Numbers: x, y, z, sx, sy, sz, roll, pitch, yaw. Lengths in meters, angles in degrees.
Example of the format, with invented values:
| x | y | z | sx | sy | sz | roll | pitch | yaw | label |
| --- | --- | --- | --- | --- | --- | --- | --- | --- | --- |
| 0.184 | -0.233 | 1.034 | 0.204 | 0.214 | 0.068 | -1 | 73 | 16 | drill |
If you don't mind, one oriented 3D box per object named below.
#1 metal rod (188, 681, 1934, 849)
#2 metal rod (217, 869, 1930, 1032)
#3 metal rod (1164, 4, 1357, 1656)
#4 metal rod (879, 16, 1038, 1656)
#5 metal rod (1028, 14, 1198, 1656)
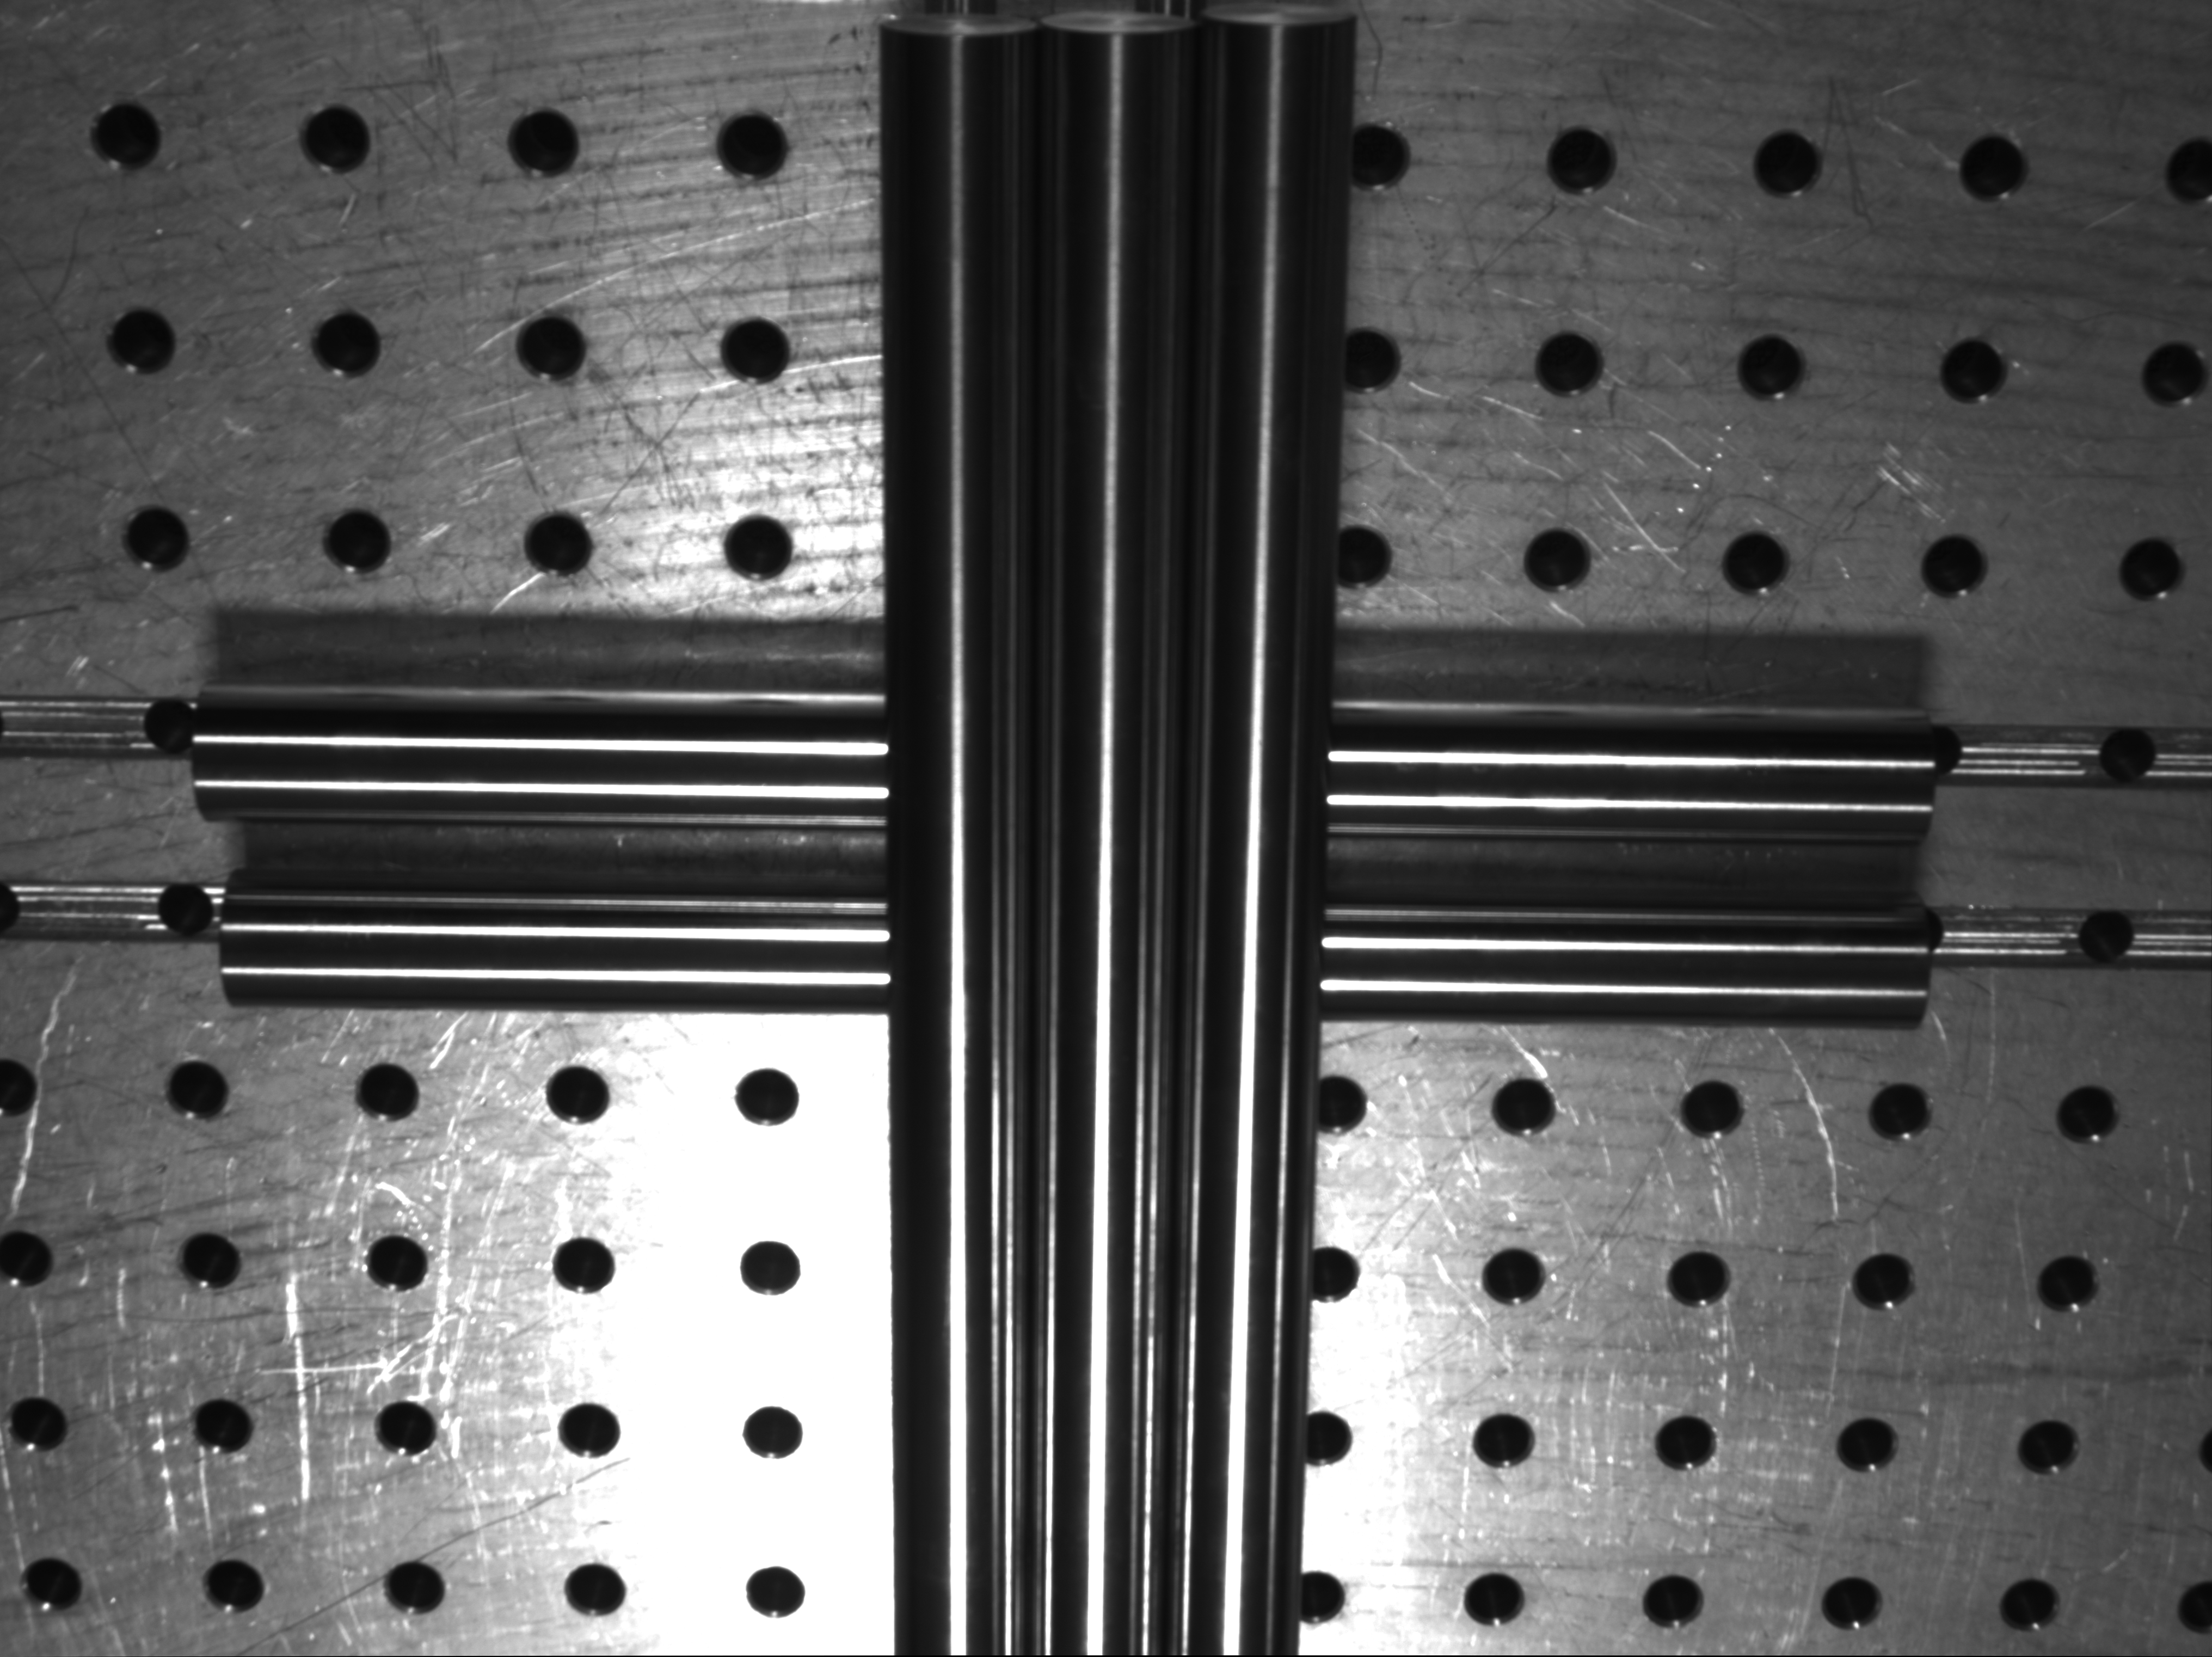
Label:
| x | y | z | sx | sy | sz | roll | pitch | yaw | label |
| --- | --- | --- | --- | --- | --- | --- | --- | --- | --- |
| -0.007 | -0.011 | 0.642 | 0.300 | 0.025 | 0.025 | 1 | 110 | -1 | metal rod |
| -0.005 | 0.022 | 0.654 | 0.300 | 0.025 | 0.025 | 1 | 110 | -1 | metal rod |
| 0.025 | 0.014 | 0.625 | 0.025 | 0.025 | 0.300 | 1 | 110 | -1 | metal rod |
| -0.025 | 0.015 | 0.625 | 0.025 | 0.025 | 0.300 | 1 | 110 | -1 | metal rod |
| 0.000 | 0.015 | 0.625 | 0.025 | 0.025 | 0.300 | 1 | 110 | -1 | metal rod |
